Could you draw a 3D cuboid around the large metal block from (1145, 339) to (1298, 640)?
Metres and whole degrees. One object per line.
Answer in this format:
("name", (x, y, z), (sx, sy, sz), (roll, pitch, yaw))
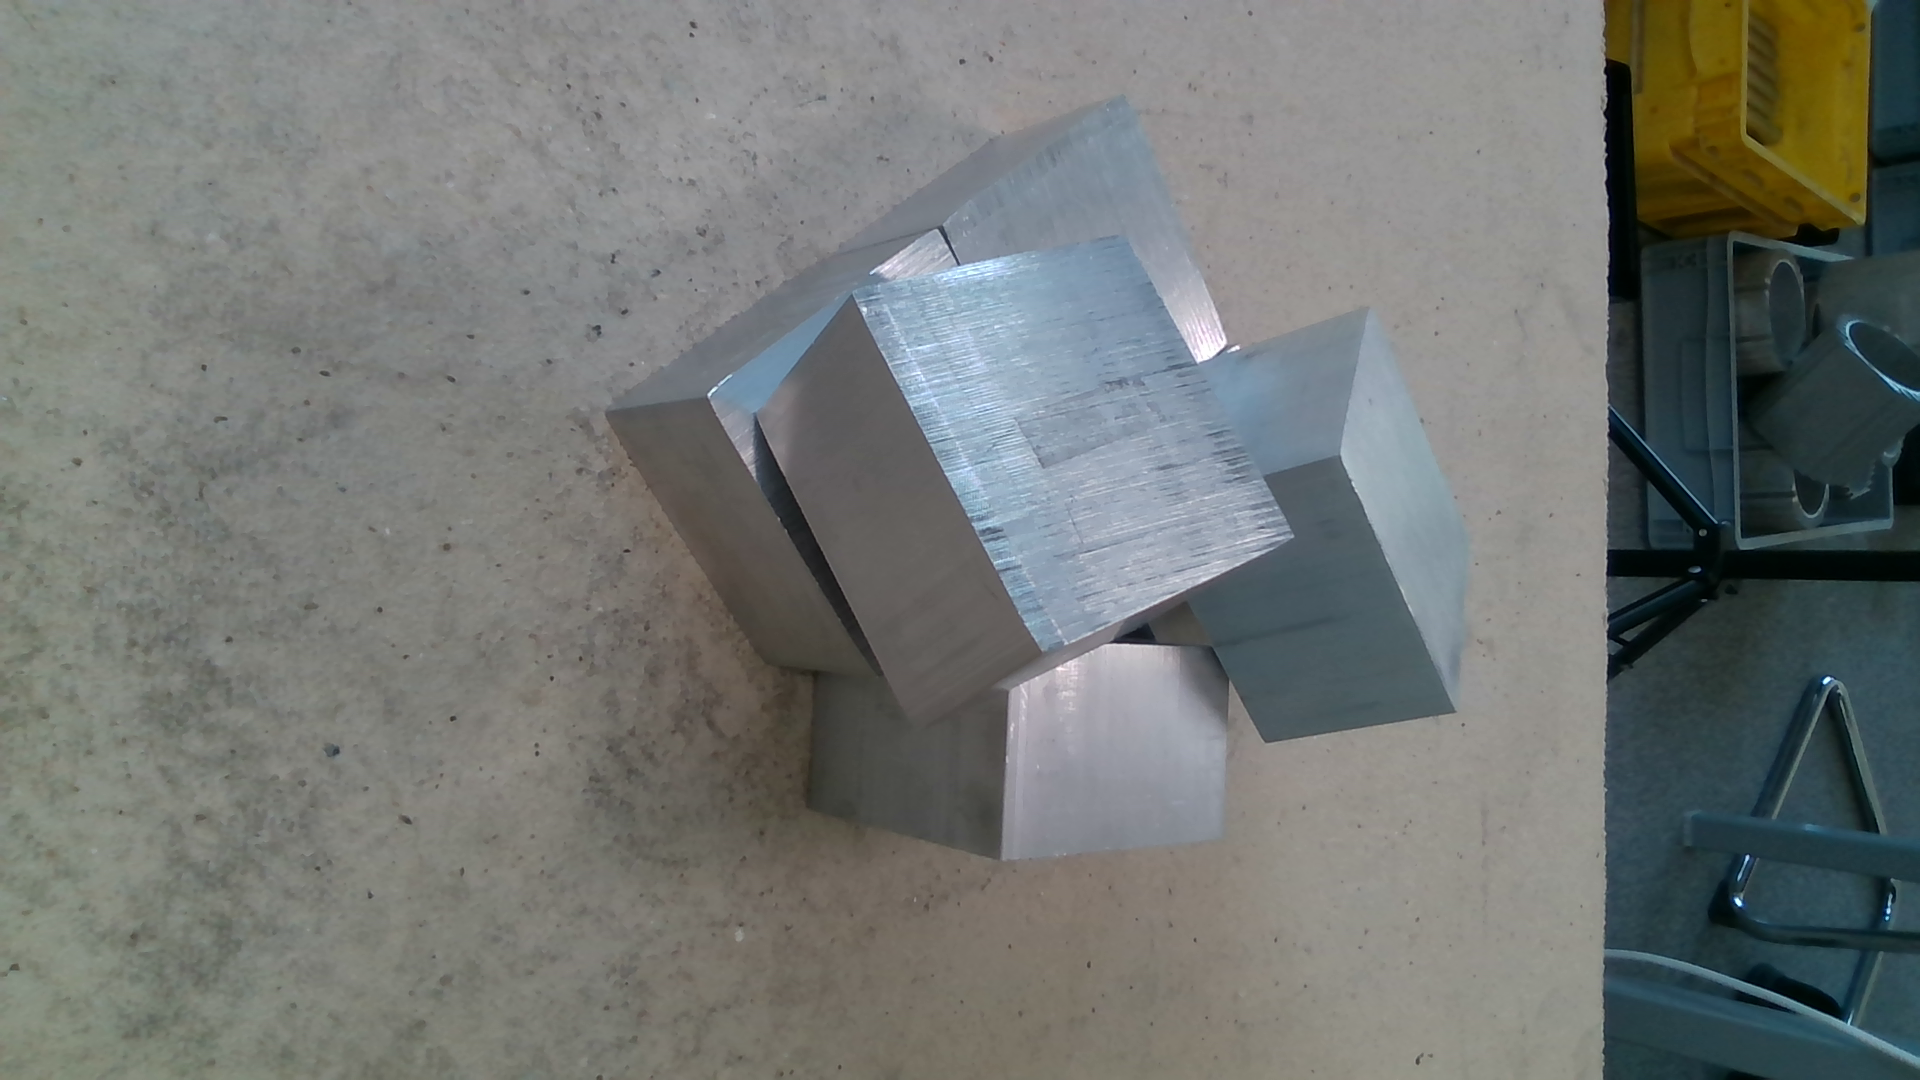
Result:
("large metal block", (0.059, -0.004, 0.423), (0.080, 0.050, 0.080), (-43, 117, -32))

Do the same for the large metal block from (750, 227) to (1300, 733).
("large metal block", (0.014, -0.015, 0.302), (0.080, 0.050, 0.080), (-21, 79, -38))

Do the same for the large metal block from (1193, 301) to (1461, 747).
("large metal block", (0.097, -0.005, 0.371), (0.080, 0.050, 0.080), (60, 33, -23))

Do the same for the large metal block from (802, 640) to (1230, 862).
("large metal block", (0.015, 0.051, 0.369), (0.080, 0.080, 0.050), (5, 87, -40))

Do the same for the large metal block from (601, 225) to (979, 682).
("large metal block", (-0.029, -0.022, 0.353), (0.080, 0.050, 0.080), (-43, 116, -32))

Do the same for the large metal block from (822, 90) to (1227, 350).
("large metal block", (0.021, -0.069, 0.394), (0.080, 0.050, 0.080), (-43, 116, -31))
